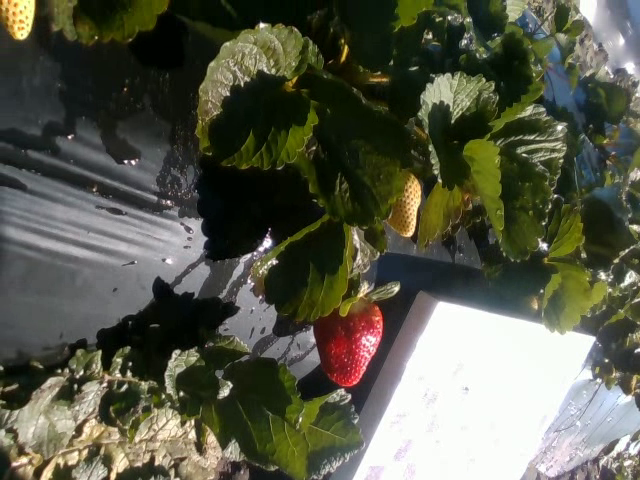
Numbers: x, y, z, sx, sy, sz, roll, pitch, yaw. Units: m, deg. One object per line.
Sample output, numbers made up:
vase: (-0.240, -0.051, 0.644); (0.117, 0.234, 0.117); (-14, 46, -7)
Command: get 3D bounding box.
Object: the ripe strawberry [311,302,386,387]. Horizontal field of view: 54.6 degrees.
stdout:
ripe strawberry: (0.019, 0.067, 0.397); (0.048, 0.069, 0.040); (-6, 20, -37)
